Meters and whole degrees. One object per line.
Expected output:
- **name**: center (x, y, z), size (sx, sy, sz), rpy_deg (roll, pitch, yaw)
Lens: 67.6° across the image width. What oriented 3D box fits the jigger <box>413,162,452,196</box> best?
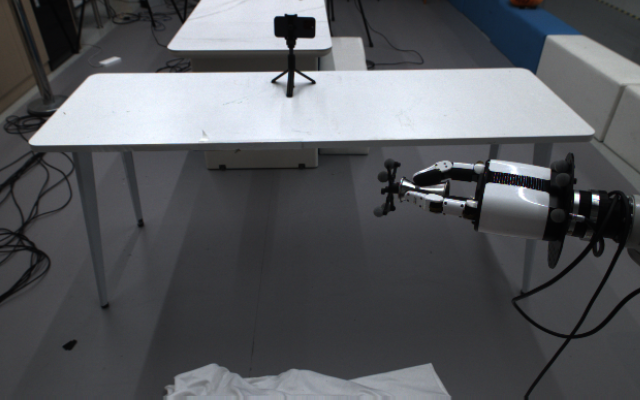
- **jigger**: center (0.160, -0.016, 0.719), size (0.071, 0.043, 0.043), rpy_deg (8, 34, 23)
